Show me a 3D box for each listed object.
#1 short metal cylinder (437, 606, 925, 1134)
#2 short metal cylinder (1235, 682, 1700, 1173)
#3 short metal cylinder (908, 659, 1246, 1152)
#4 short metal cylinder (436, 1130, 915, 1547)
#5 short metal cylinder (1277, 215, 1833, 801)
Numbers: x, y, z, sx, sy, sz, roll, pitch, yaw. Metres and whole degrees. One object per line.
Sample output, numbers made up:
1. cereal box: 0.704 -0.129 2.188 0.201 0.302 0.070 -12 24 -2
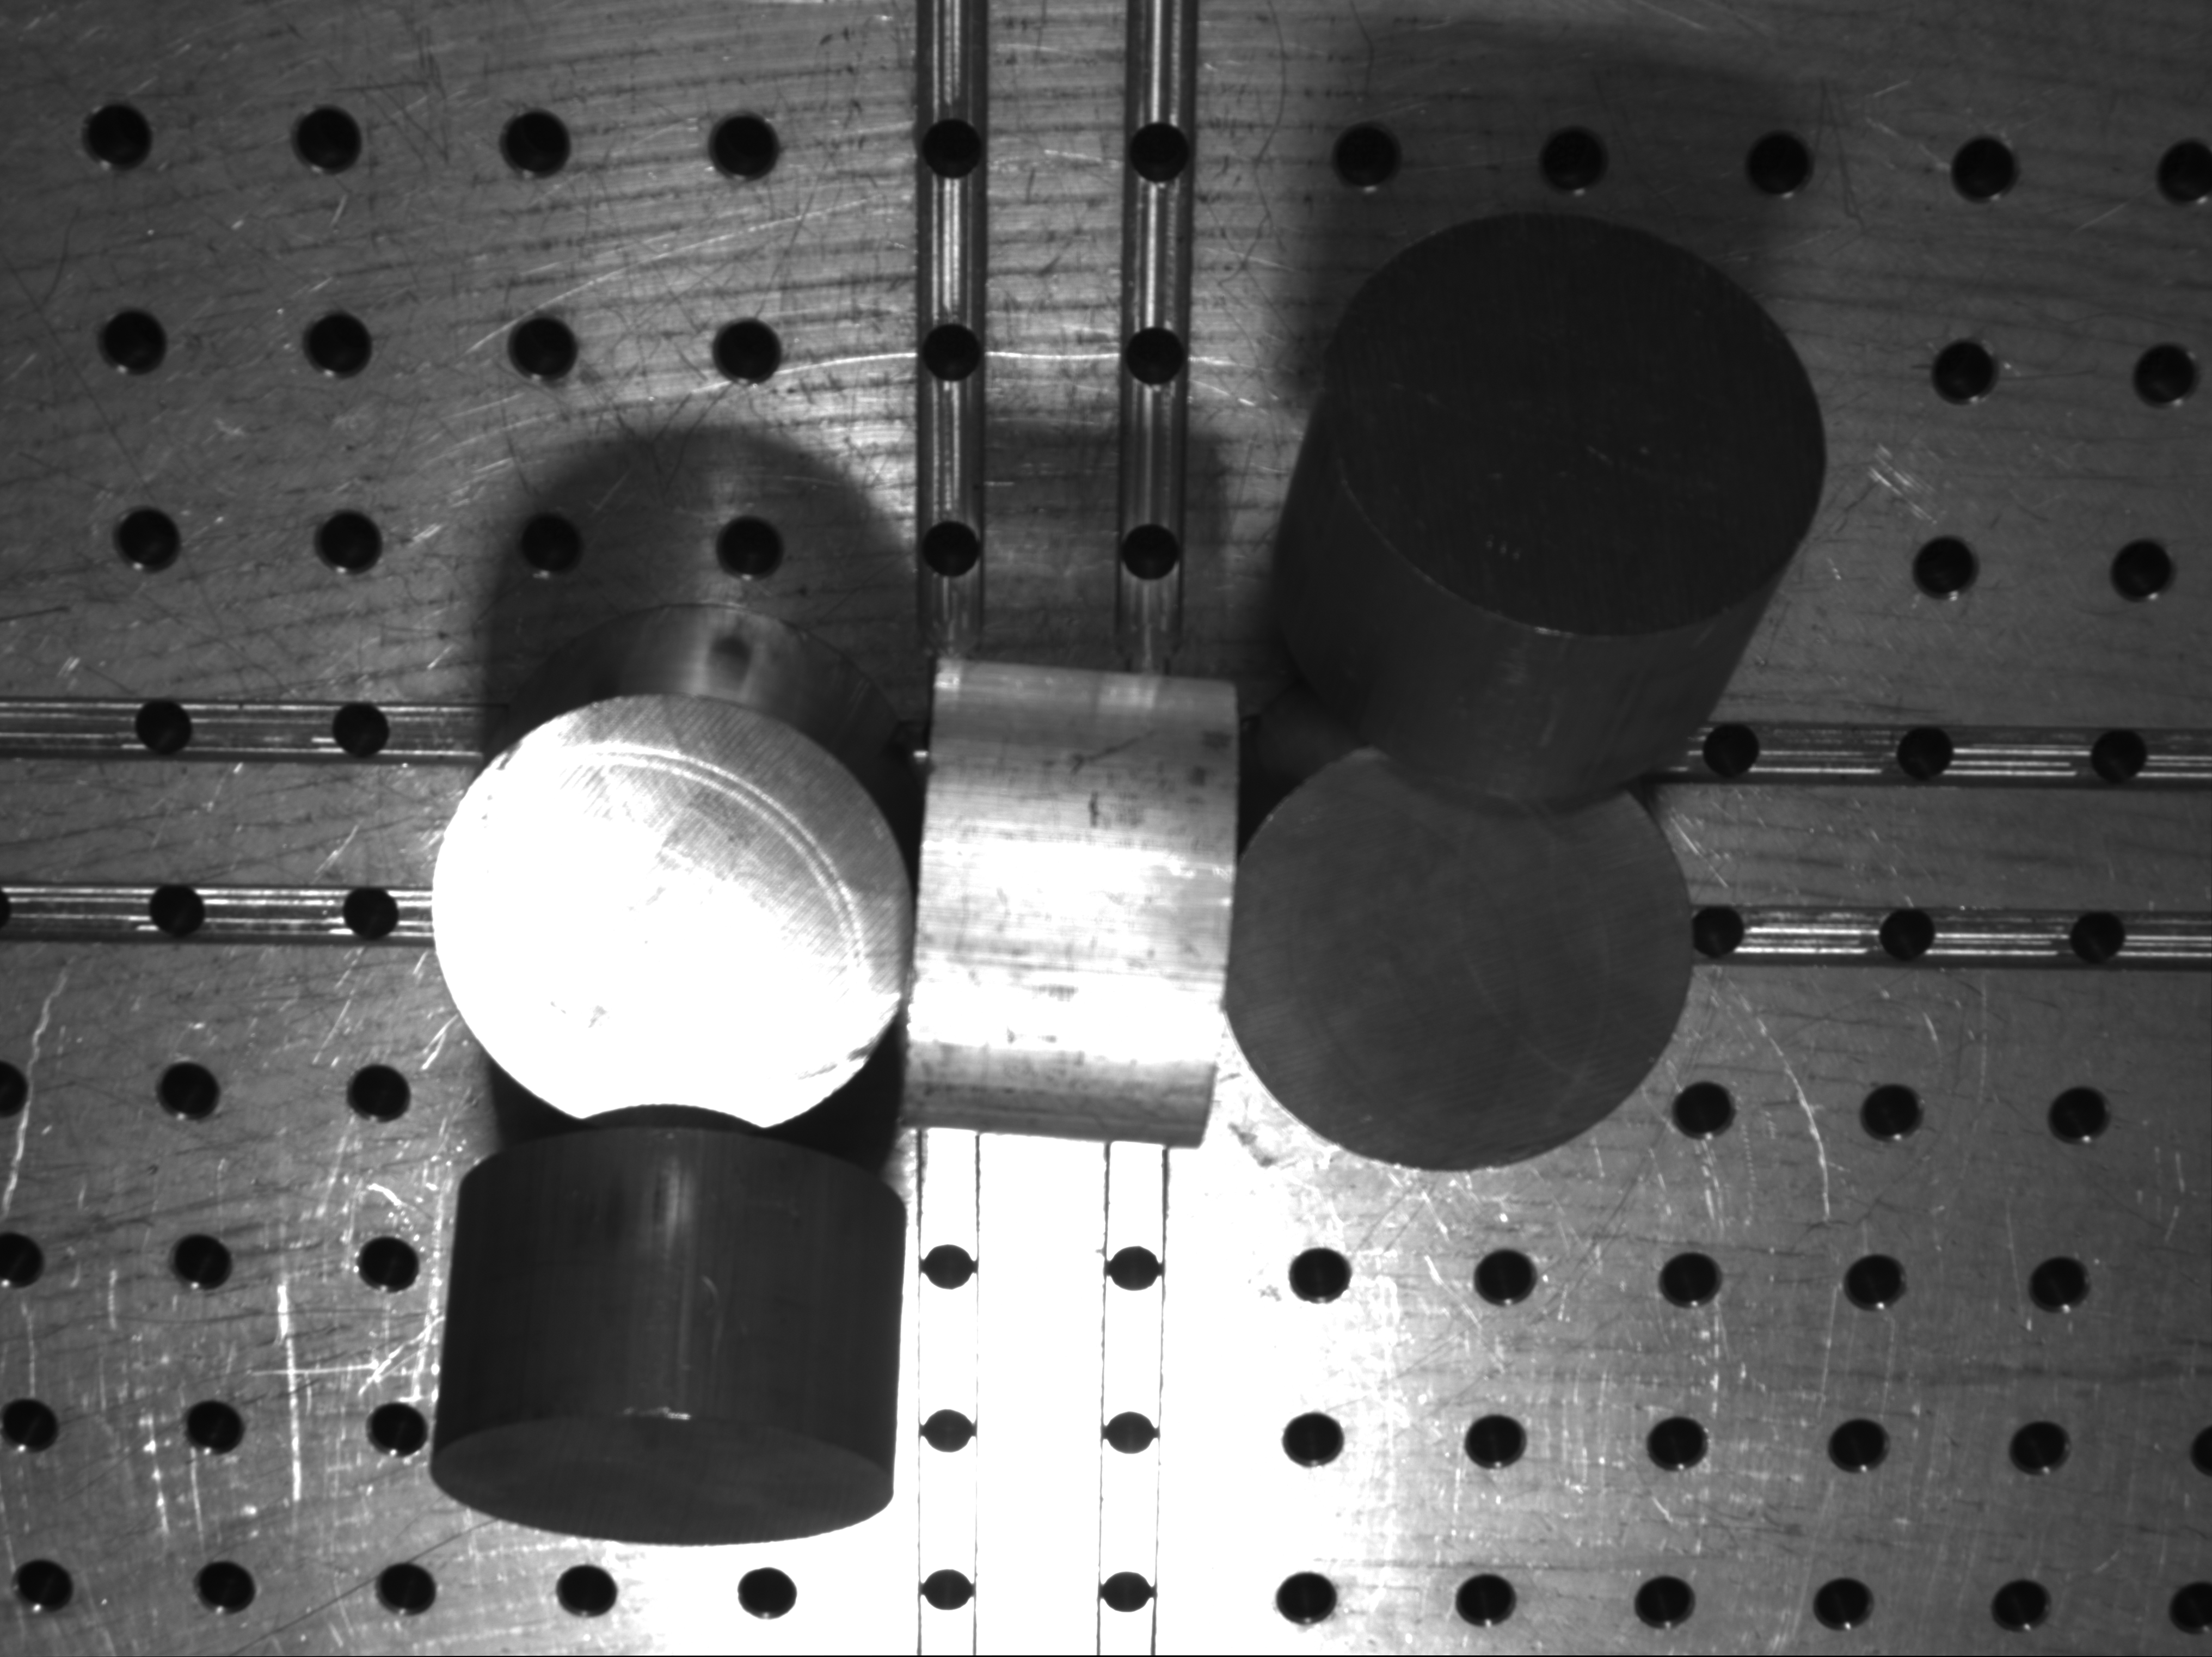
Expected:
1. short metal cylinder: -0.071 0.007 0.633 0.080 0.050 0.080 0 110 -1
2. short metal cylinder: 0.059 0.013 0.637 0.080 0.050 0.080 0 110 -1
3. short metal cylinder: -0.005 0.013 0.621 0.050 0.080 0.080 5 110 -2
4. short metal cylinder: -0.075 0.091 0.642 0.080 0.050 0.080 1 154 1
5. short metal cylinder: 0.071 -0.052 0.591 0.080 0.080 0.050 8 151 -4
